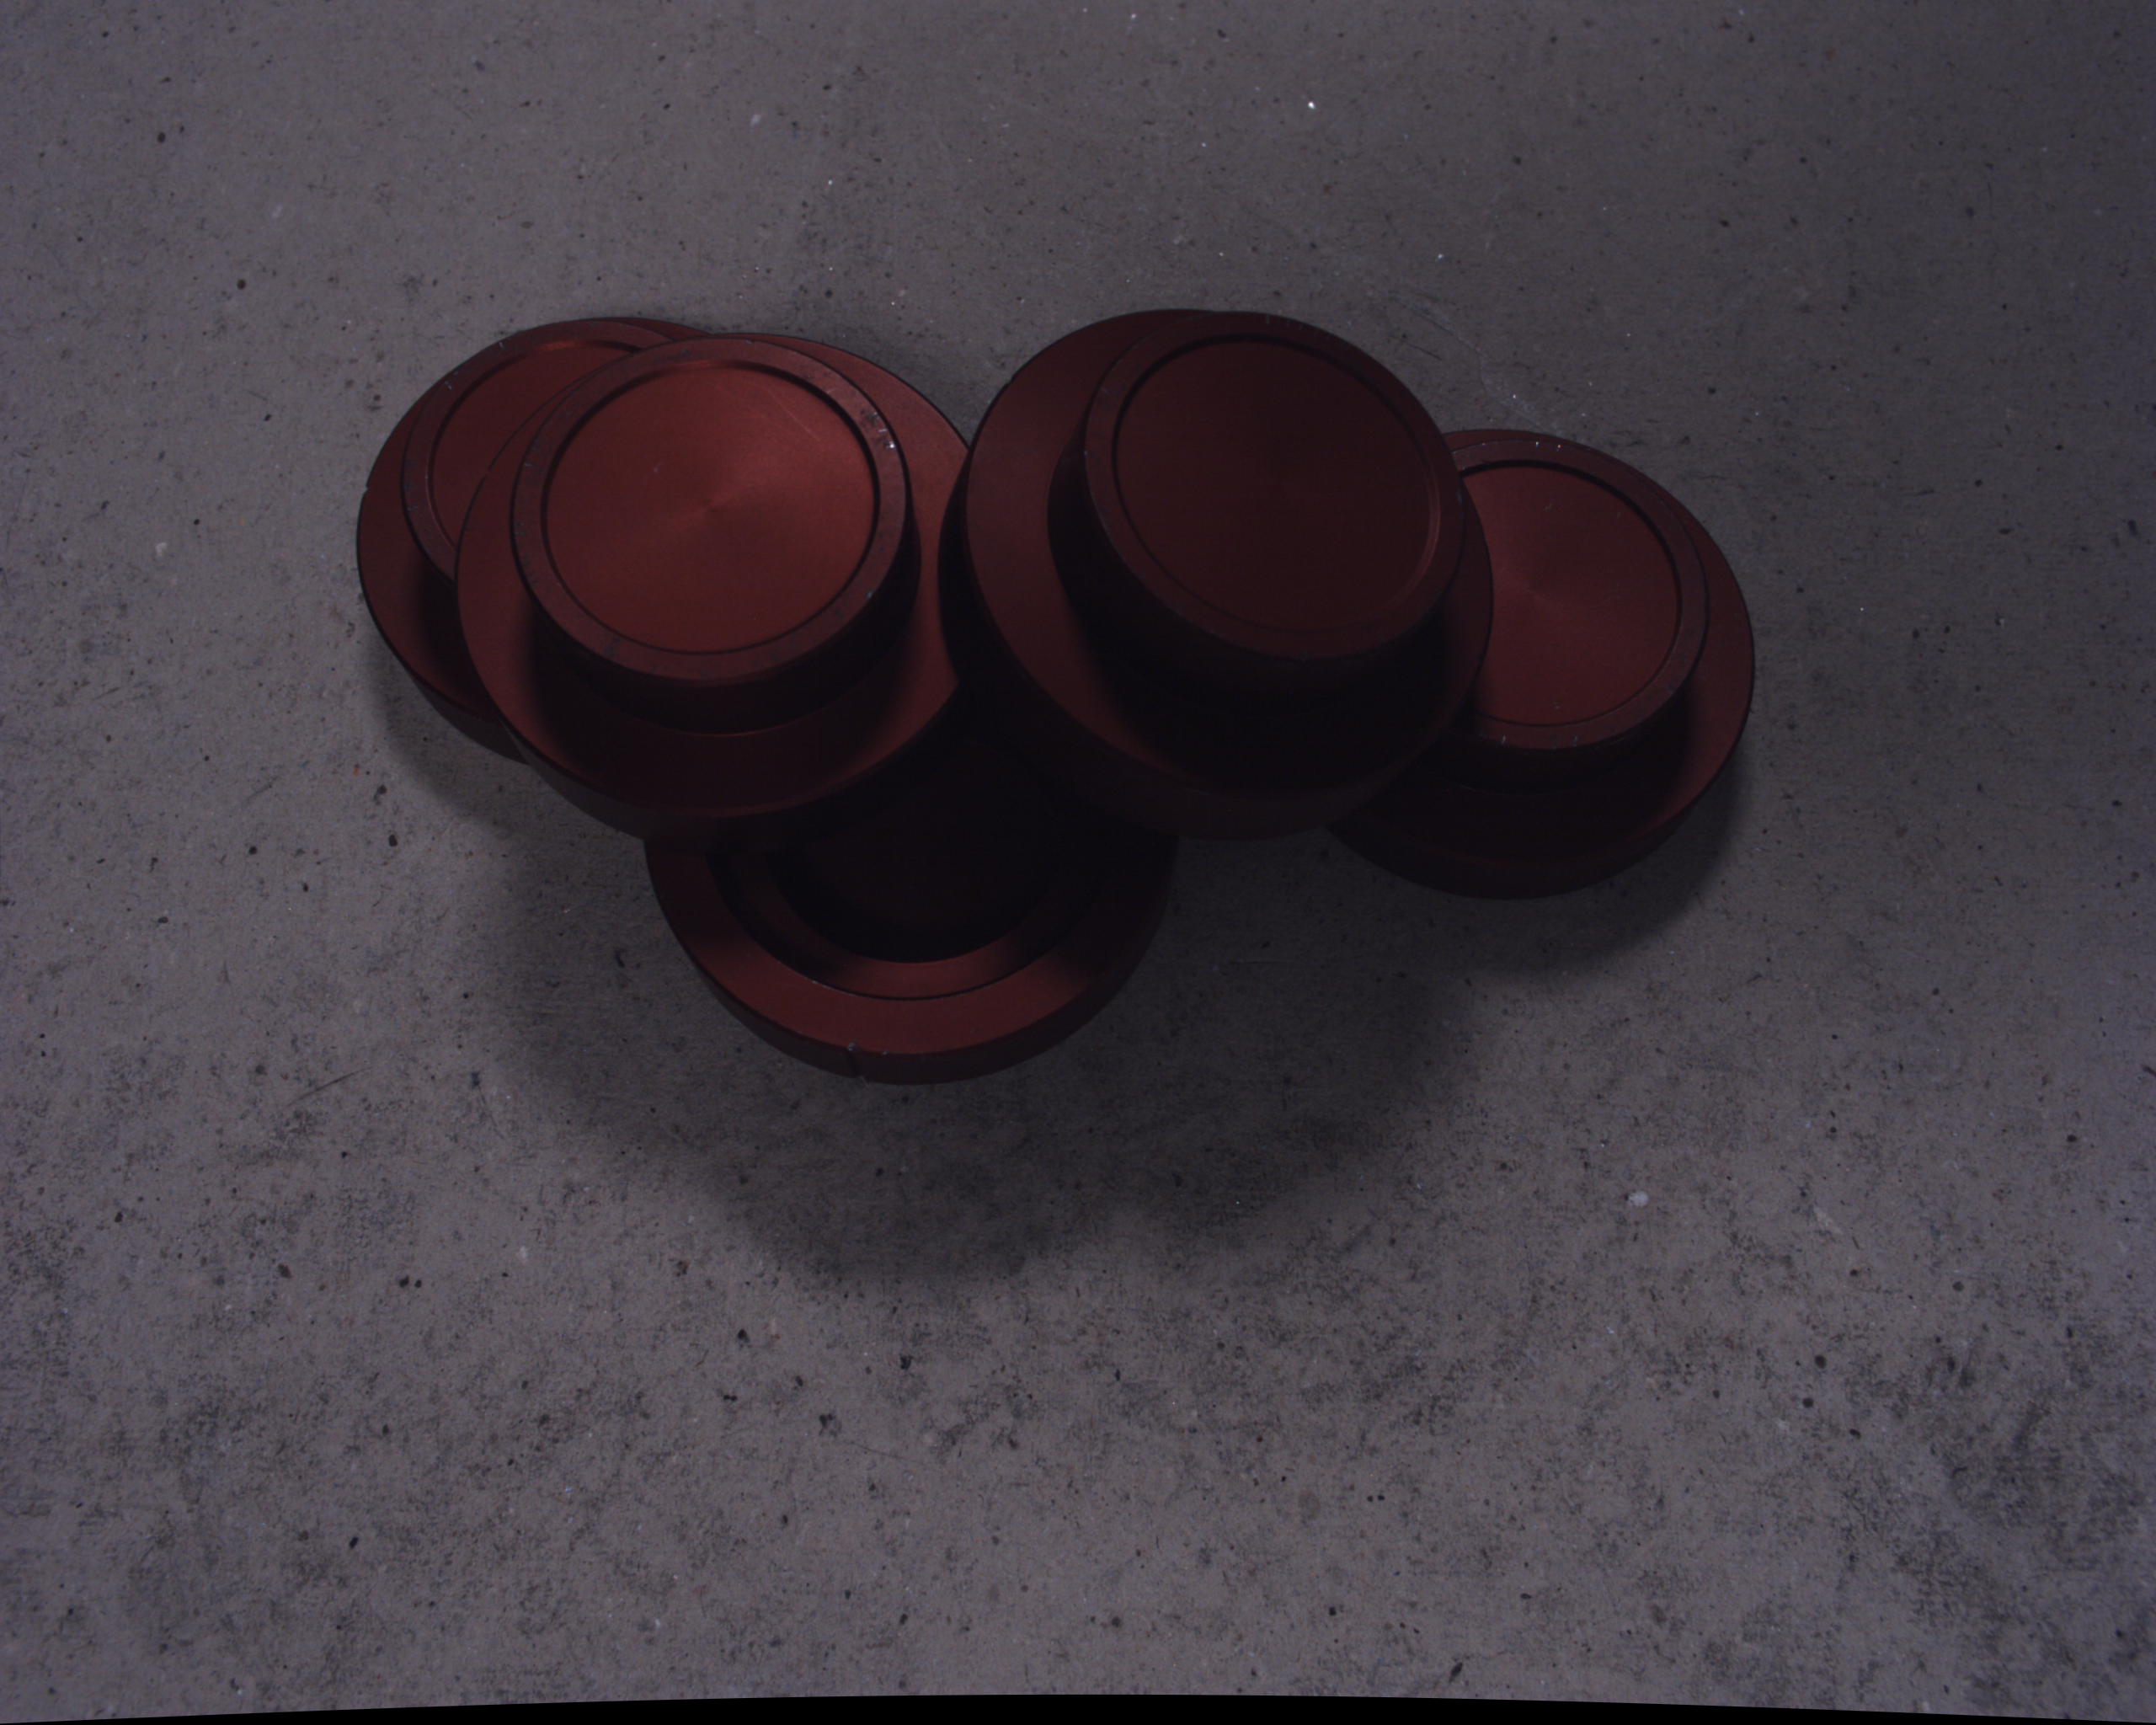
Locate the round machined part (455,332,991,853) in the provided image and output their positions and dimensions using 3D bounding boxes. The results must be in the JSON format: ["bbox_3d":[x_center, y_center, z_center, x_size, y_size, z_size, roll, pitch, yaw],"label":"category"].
[{"bbox_3d":[-0.062,-0.054,0.374,0.099,0.042,0.098,0,70,-1],"label":"round machined part"}]

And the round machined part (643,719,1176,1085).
[{"bbox_3d":[-0.031,-0.005,0.401,0.099,0.042,0.098,0,70,-1],"label":"round machined part"}]

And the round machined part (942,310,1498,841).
[{"bbox_3d":[0.028,-0.056,0.366,0.099,0.042,0.098,5,68,-13],"label":"round machined part"}]

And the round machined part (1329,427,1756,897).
[{"bbox_3d":[0.087,-0.045,0.417,0.099,0.042,0.098,0,70,-1],"label":"round machined part"}]

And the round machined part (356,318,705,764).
[{"bbox_3d":[-0.098,-0.070,0.424,0.099,0.042,0.098,0,70,-1],"label":"round machined part"}]
